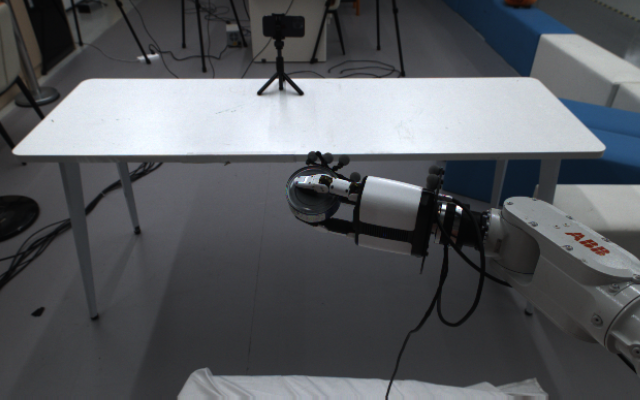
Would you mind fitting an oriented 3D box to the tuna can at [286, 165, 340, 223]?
[{"bbox_3d":[-0.010,-0.010,0.749,0.085,0.034,0.085,-2,60,3],"label":"tuna can"}]
